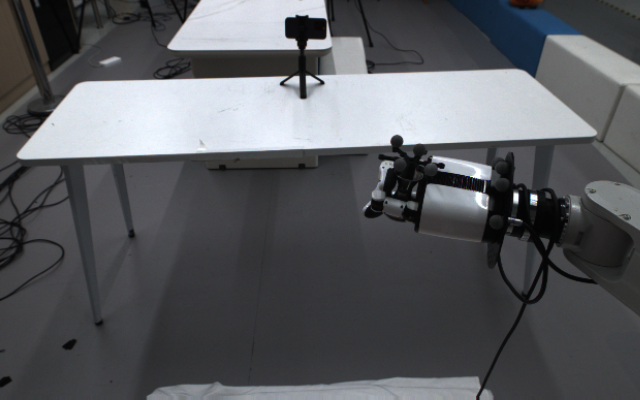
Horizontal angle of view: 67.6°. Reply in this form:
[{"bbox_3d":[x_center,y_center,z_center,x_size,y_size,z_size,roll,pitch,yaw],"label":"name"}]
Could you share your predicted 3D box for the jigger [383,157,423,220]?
[{"bbox_3d":[0.118,-0.009,0.679,0.043,0.071,0.043,7,32,-4],"label":"jigger"}]
